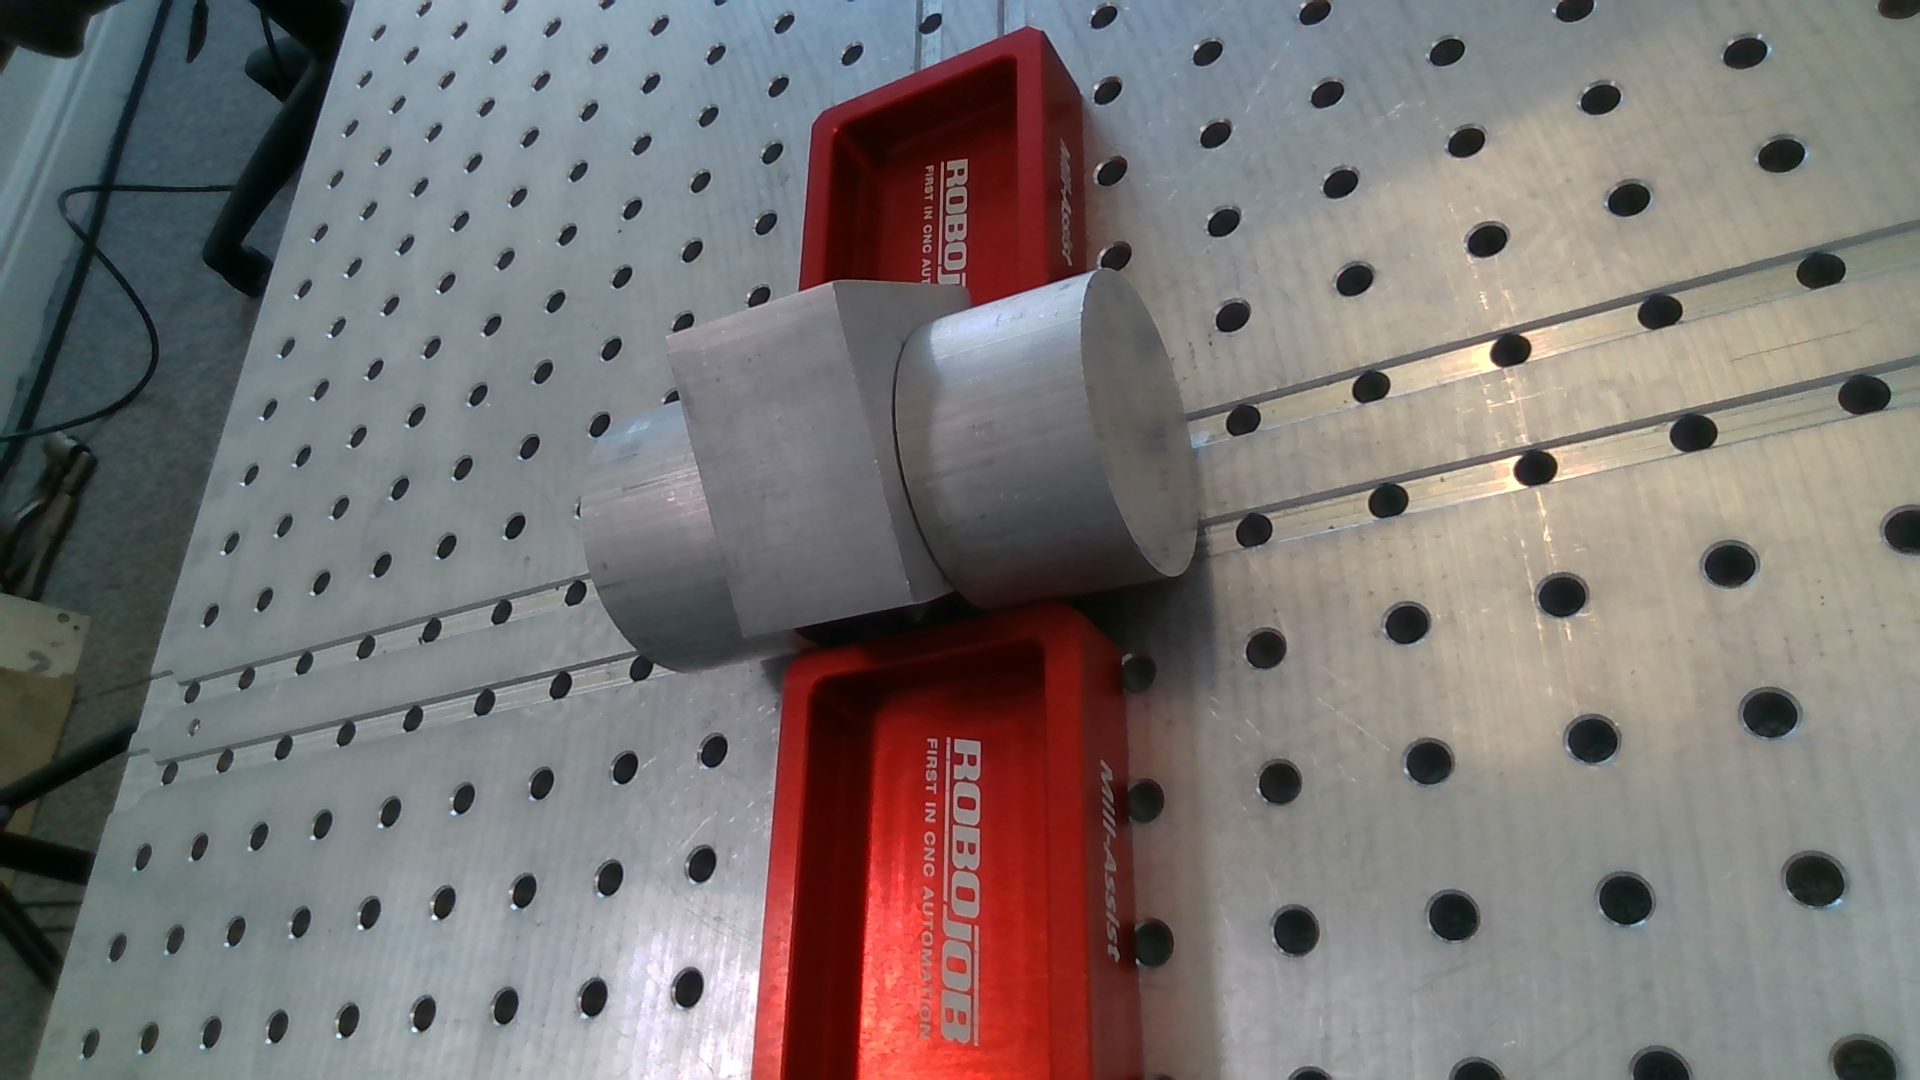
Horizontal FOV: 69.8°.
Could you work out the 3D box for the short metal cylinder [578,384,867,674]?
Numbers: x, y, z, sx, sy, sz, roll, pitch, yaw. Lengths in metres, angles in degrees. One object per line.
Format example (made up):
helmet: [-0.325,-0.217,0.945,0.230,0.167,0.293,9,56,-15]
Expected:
short metal cylinder: [-0.064,-0.004,0.402,0.050,0.080,0.080,-13,60,26]

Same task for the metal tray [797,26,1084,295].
metal tray: [-0.007,-0.096,0.447,0.090,0.030,0.130,-13,59,26]

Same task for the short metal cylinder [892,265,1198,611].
short metal cylinder: [0.025,-0.025,0.358,0.050,0.080,0.080,-13,59,26]

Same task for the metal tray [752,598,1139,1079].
metal tray: [-0.004,0.086,0.349,0.090,0.030,0.130,-14,59,25]

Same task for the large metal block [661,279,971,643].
large metal block: [-0.027,-0.023,0.371,0.050,0.080,0.080,-12,94,26]
